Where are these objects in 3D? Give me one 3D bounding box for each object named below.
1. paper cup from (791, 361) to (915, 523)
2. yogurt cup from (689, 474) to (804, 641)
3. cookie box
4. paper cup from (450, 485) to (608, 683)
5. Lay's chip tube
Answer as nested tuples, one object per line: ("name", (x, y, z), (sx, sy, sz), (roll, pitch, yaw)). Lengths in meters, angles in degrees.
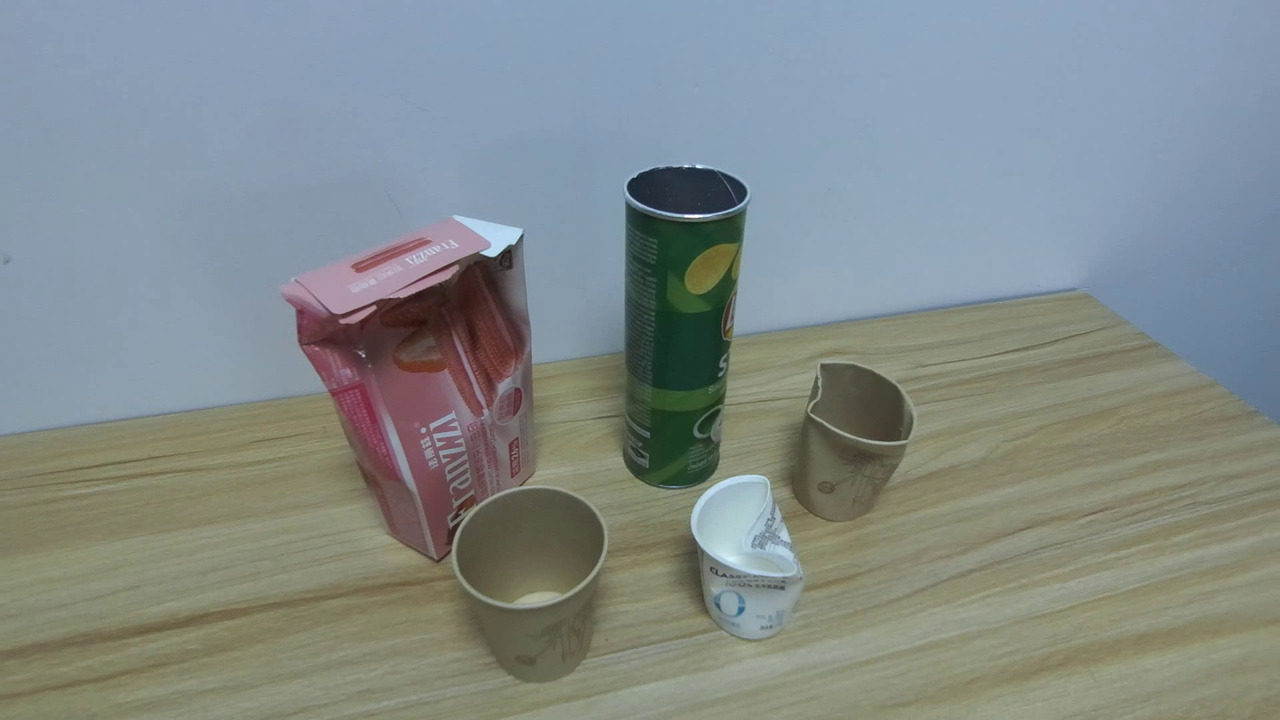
("paper cup", (0.135, 0.056, 0.456), (0.066, 0.084, 0.071), (12, 38, 15))
("yogurt cup", (0.060, 0.113, 0.392), (0.067, 0.070, 0.067), (1, 38, -1))
("cookie box", (-0.116, 0.022, 0.409), (0.055, 0.184, 0.119), (26, 44, 30))
("paper cup", (-0.053, 0.122, 0.368), (0.075, 0.082, 0.075), (1, 38, -1))
("Lay's chip tube", (0.024, -0.014, 0.441), (0.071, 0.203, 0.071), (1, 38, 0))
